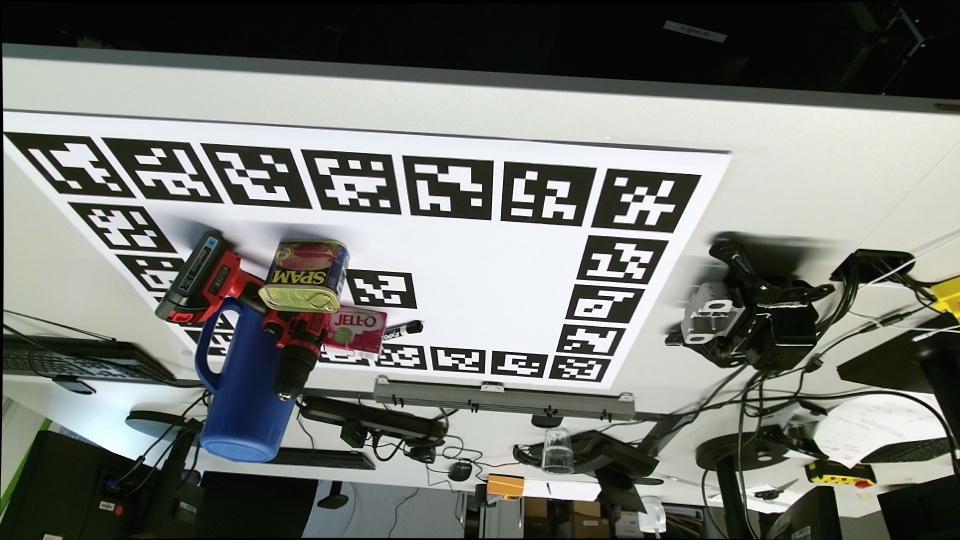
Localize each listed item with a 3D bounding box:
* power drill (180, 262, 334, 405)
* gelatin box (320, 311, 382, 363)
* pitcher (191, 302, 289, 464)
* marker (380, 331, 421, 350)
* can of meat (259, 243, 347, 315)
[{"bbox_3d":[-0.310,0.083,0.758,0.188,0.183,0.057,30,133,-20],"label":"power drill"},{"bbox_3d":[-0.210,0.107,0.866,0.090,0.073,0.030,11,137,-5],"label":"gelatin box"},{"bbox_3d":[-0.360,0.162,0.827,0.189,0.241,0.133,19,137,-27],"label":"pitcher"},{"bbox_3d":[-0.154,0.125,0.921,0.121,0.019,0.020,-15,137,22],"label":"marker"},{"bbox_3d":[-0.240,0.011,0.733,0.102,0.083,0.058,3,144,4],"label":"can of meat"}]
